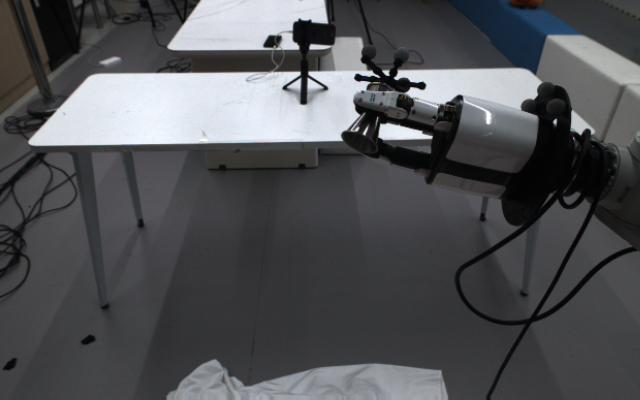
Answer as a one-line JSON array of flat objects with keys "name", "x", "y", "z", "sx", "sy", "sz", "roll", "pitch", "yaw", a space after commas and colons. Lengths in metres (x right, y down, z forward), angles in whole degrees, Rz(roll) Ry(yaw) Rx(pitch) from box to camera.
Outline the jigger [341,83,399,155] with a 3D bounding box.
[{"name": "jigger", "x": 0.058, "y": -0.094, "z": 0.540, "sx": 0.043, "sy": 0.043, "sz": 0.071, "roll": 19, "pitch": 72, "yaw": 23}]
